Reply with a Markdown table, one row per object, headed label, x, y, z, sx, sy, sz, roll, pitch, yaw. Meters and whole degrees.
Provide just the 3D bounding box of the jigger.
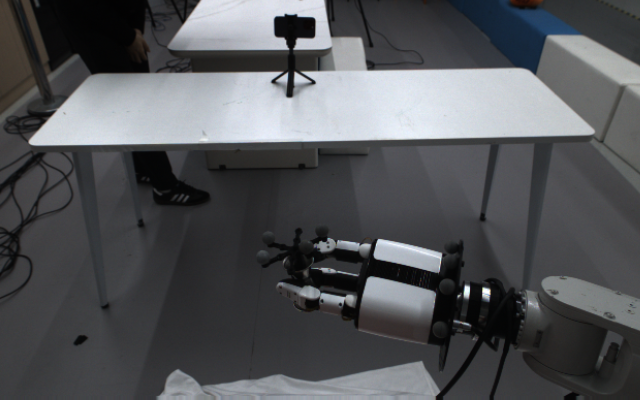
| label | x | y | z | sx | sy | sz | roll | pitch | yaw |
| --- | --- | --- | --- | --- | --- | --- | --- | --- | --- |
| jigger | -0.020 | 0.104 | 0.626 | 0.043 | 0.071 | 0.043 | -10 | 32 | 6 |
